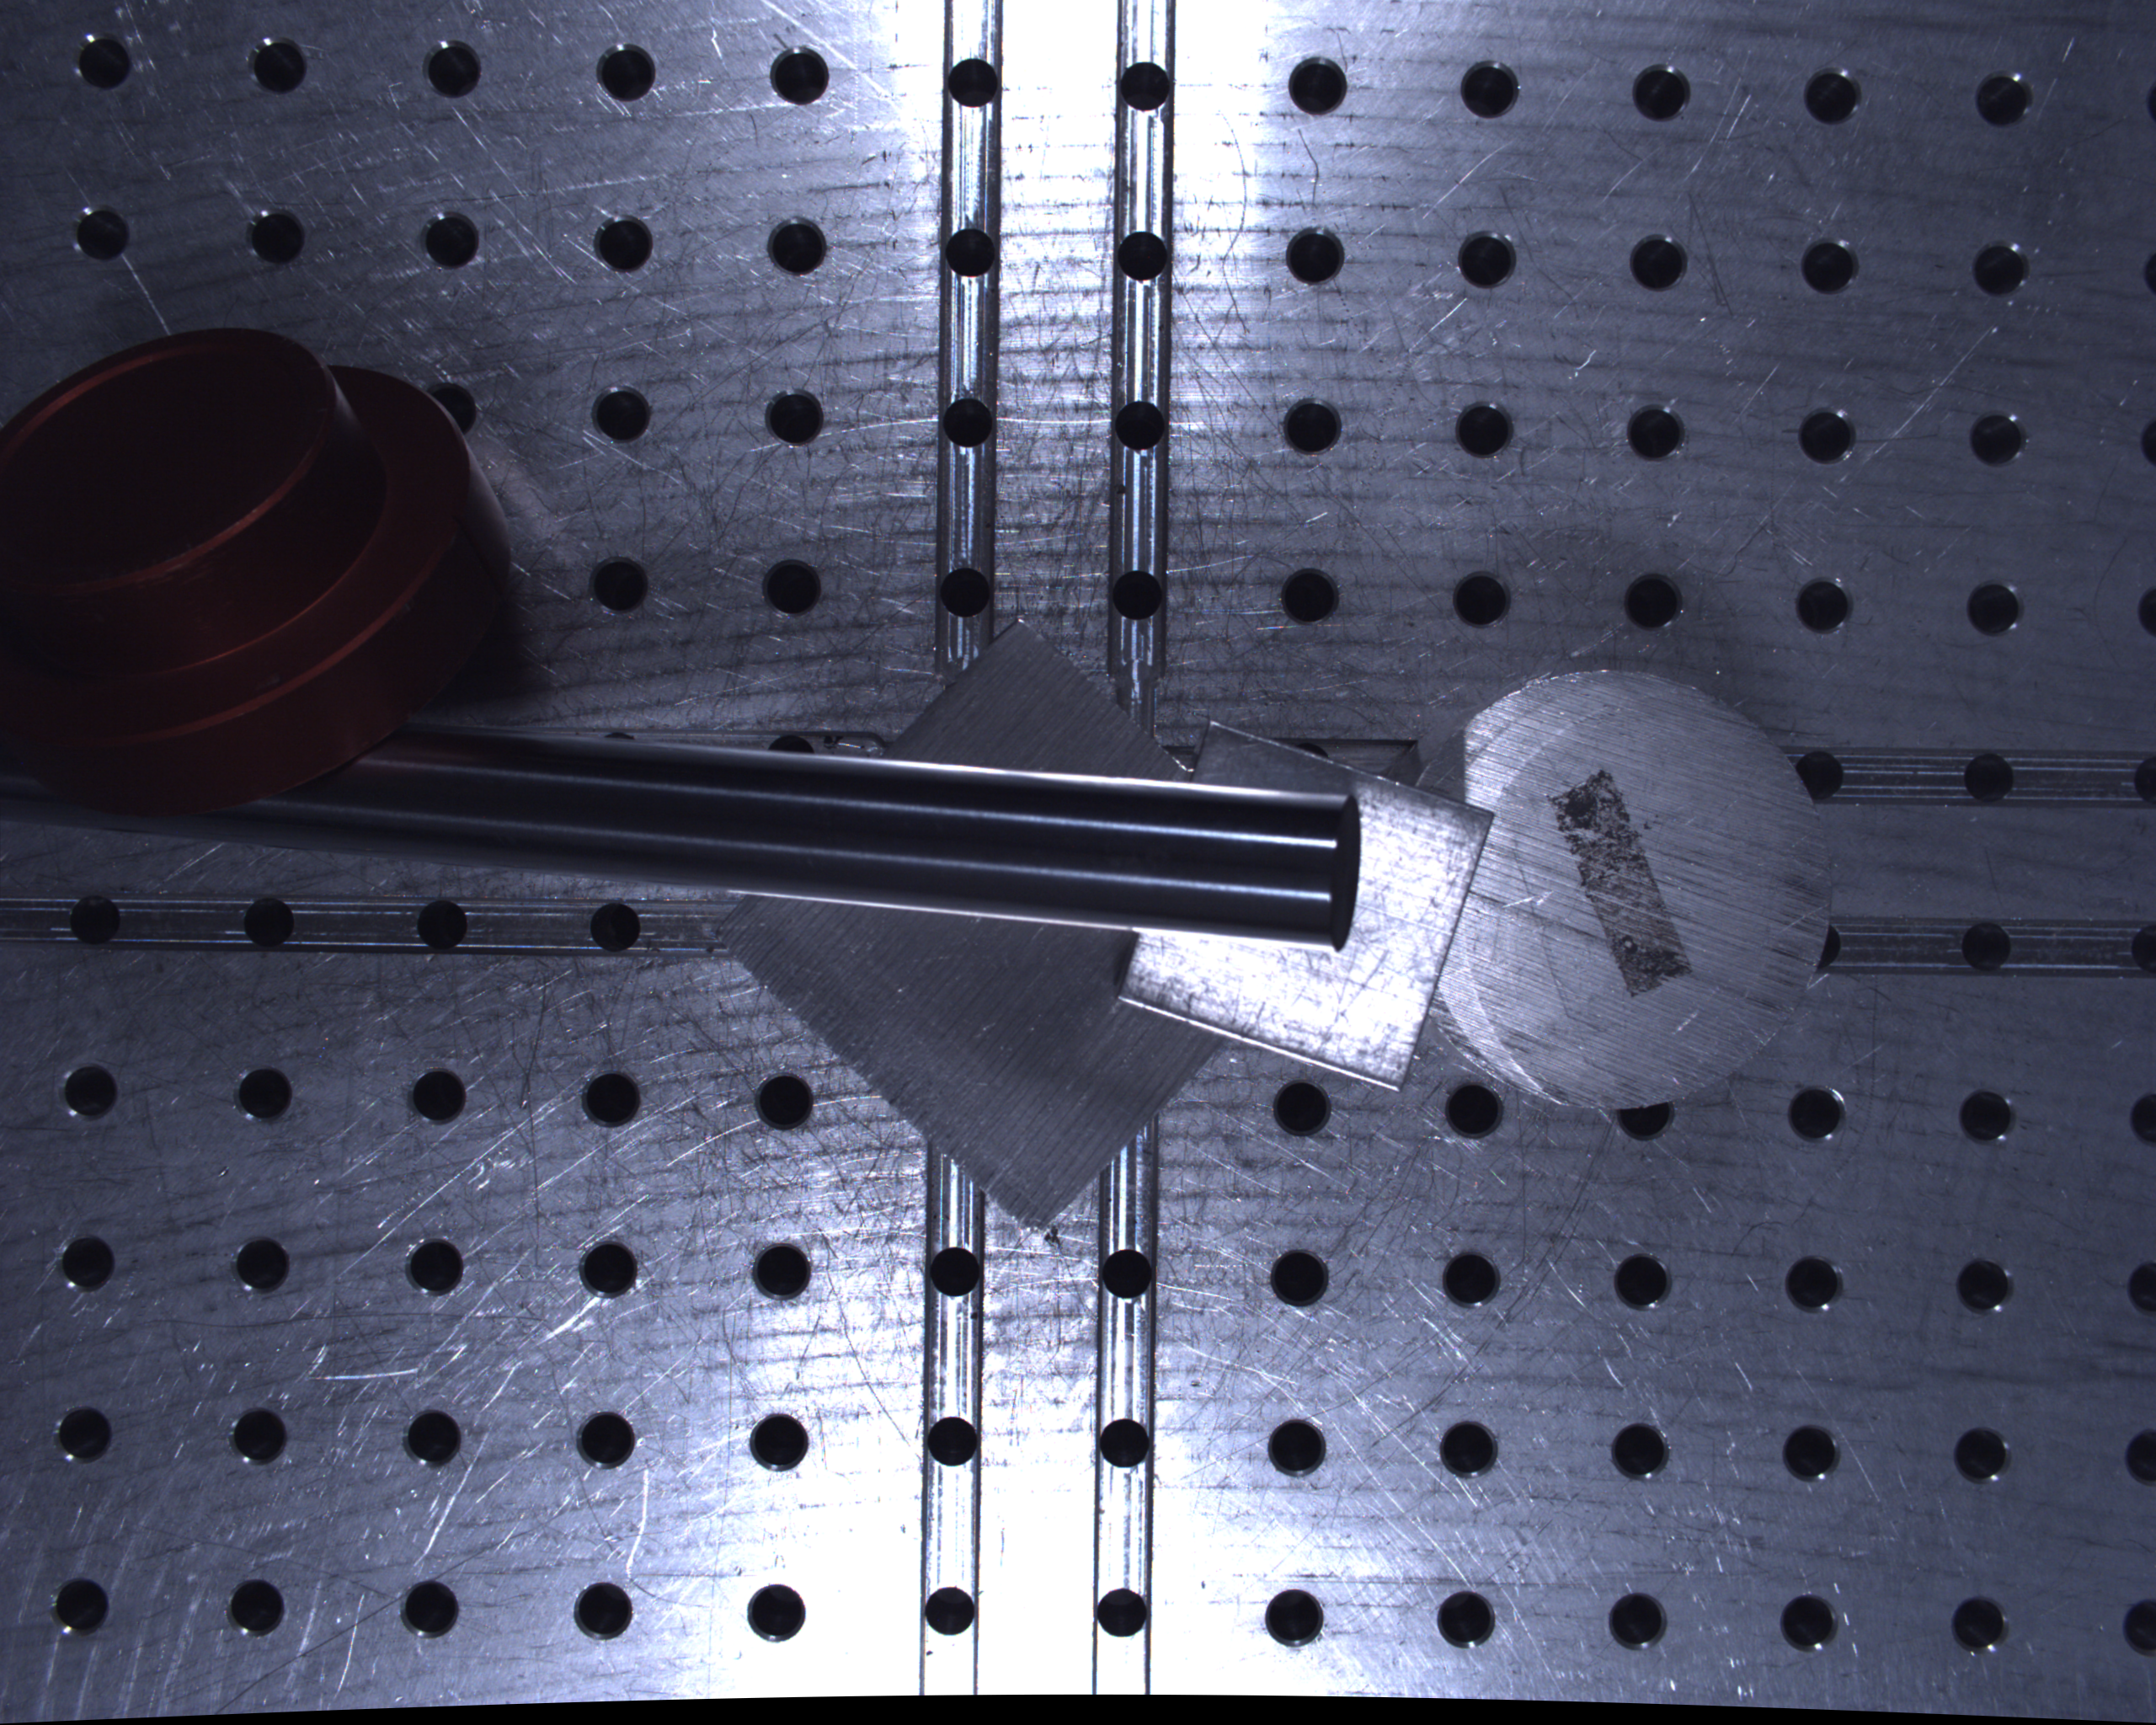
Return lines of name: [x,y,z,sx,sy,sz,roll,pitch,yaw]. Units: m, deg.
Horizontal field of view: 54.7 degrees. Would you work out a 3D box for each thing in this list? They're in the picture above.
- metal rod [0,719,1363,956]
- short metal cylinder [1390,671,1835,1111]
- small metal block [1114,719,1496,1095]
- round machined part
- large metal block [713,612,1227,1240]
metal rod: [-0.101,-0.011,0.368,0.301,0.025,0.025,5,90,16]
short metal cylinder: [0.097,0.005,0.402,0.081,0.050,0.079,0,90,-1]
small metal block: [0.038,0.007,0.362,0.050,0.025,0.050,19,90,-1]
round machined part: [-0.157,-0.059,0.376,0.098,0.042,0.098,-6,51,8]
large metal block: [-0.008,0.011,0.399,0.080,0.050,0.080,44,90,-1]
